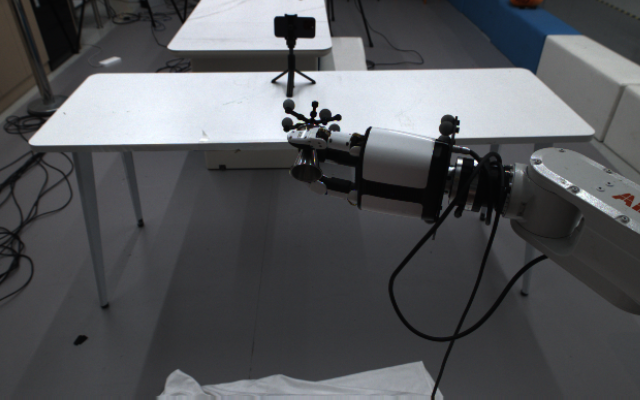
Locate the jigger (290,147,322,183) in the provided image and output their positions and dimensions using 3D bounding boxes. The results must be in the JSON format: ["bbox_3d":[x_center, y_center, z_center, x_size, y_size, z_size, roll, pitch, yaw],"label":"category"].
[{"bbox_3d":[-0.017,-0.067,0.656,0.043,0.043,0.071,4,60,2],"label":"jigger"}]
